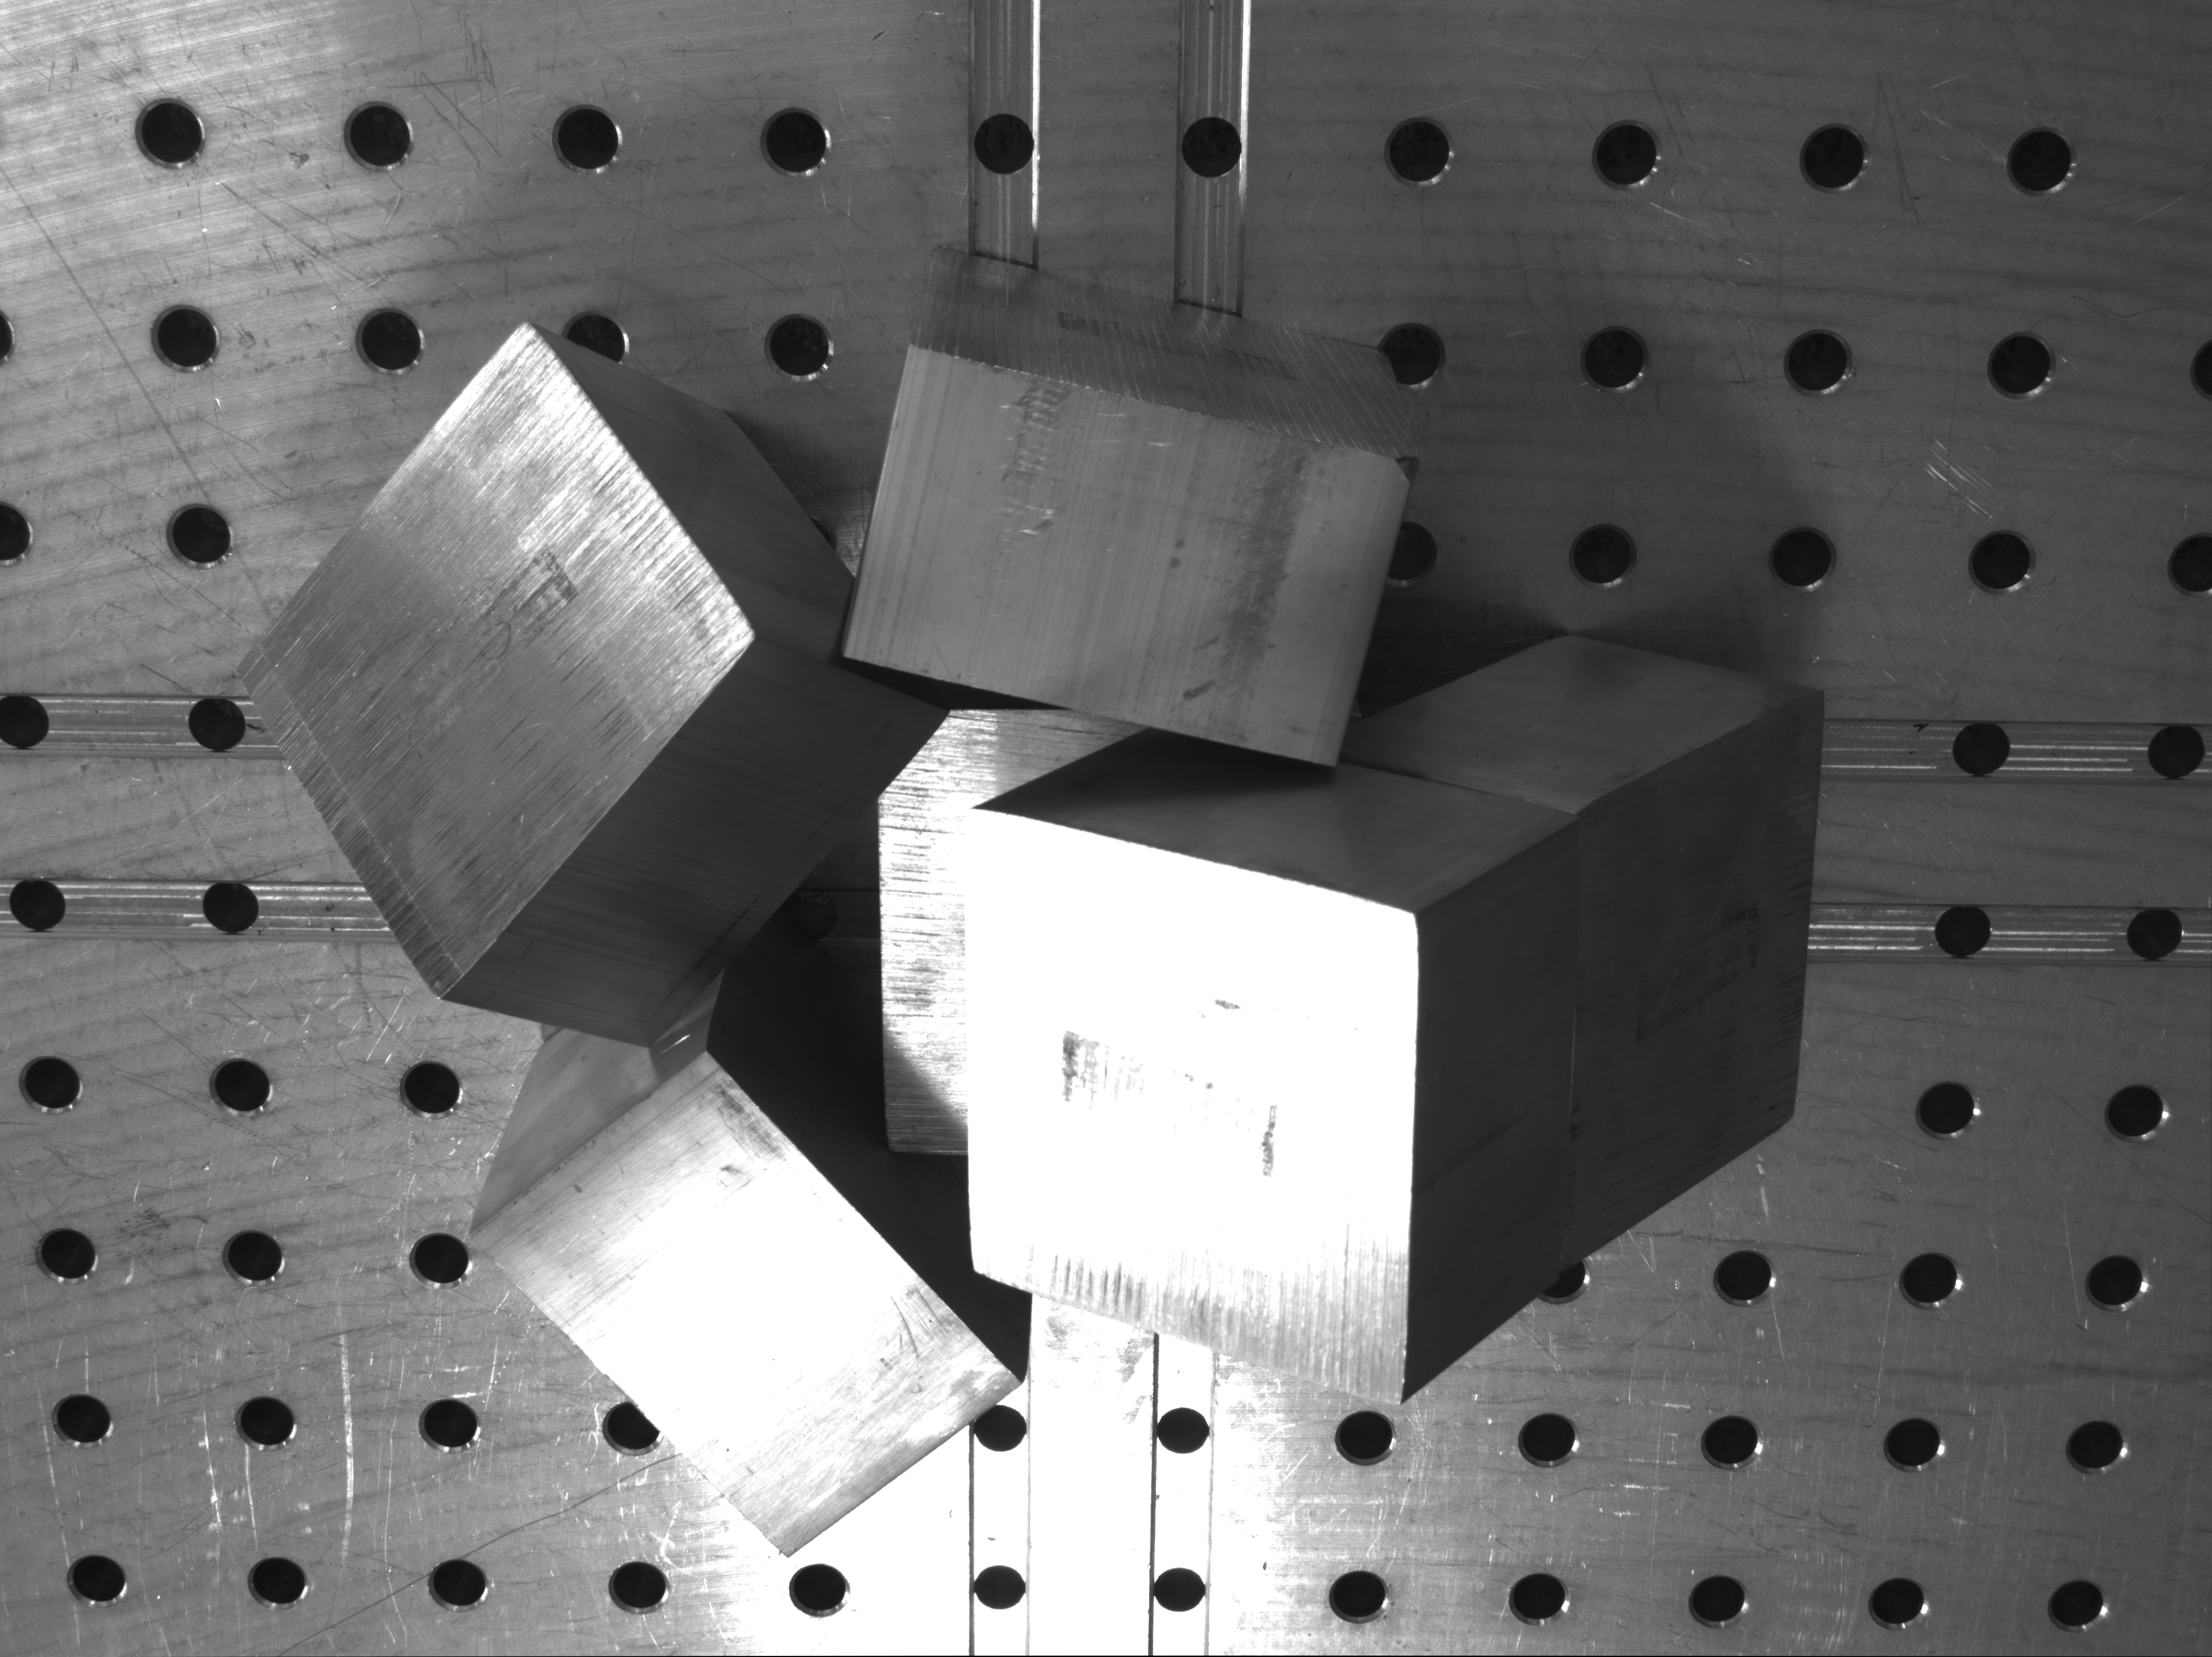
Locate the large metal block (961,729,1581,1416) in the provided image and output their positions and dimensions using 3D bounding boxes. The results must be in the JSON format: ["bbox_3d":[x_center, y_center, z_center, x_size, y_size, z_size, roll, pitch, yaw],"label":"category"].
[{"bbox_3d":[0.025,0.035,0.573,0.080,0.050,0.080,13,113,32],"label":"large metal block"}]

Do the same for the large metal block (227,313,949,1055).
[{"bbox_3d":[-0.086,-0.023,0.602,0.080,0.080,0.050,-47,148,15],"label":"large metal block"}]

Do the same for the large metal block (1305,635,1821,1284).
[{"bbox_3d":[0.076,0.019,0.616,0.050,0.080,0.080,14,114,35],"label":"large metal block"}]

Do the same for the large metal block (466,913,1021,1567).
[{"bbox_3d":[-0.060,0.067,0.640,0.050,0.080,0.080,-38,106,12],"label":"large metal block"}]

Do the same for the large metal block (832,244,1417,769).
[{"bbox_3d":[0.003,-0.054,0.598,0.080,0.080,0.050,13,109,-4],"label":"large metal block"}]

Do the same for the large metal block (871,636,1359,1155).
[{"bbox_3d":[0.001,0.010,0.637,0.080,0.050,0.080,1,110,0],"label":"large metal block"}]
